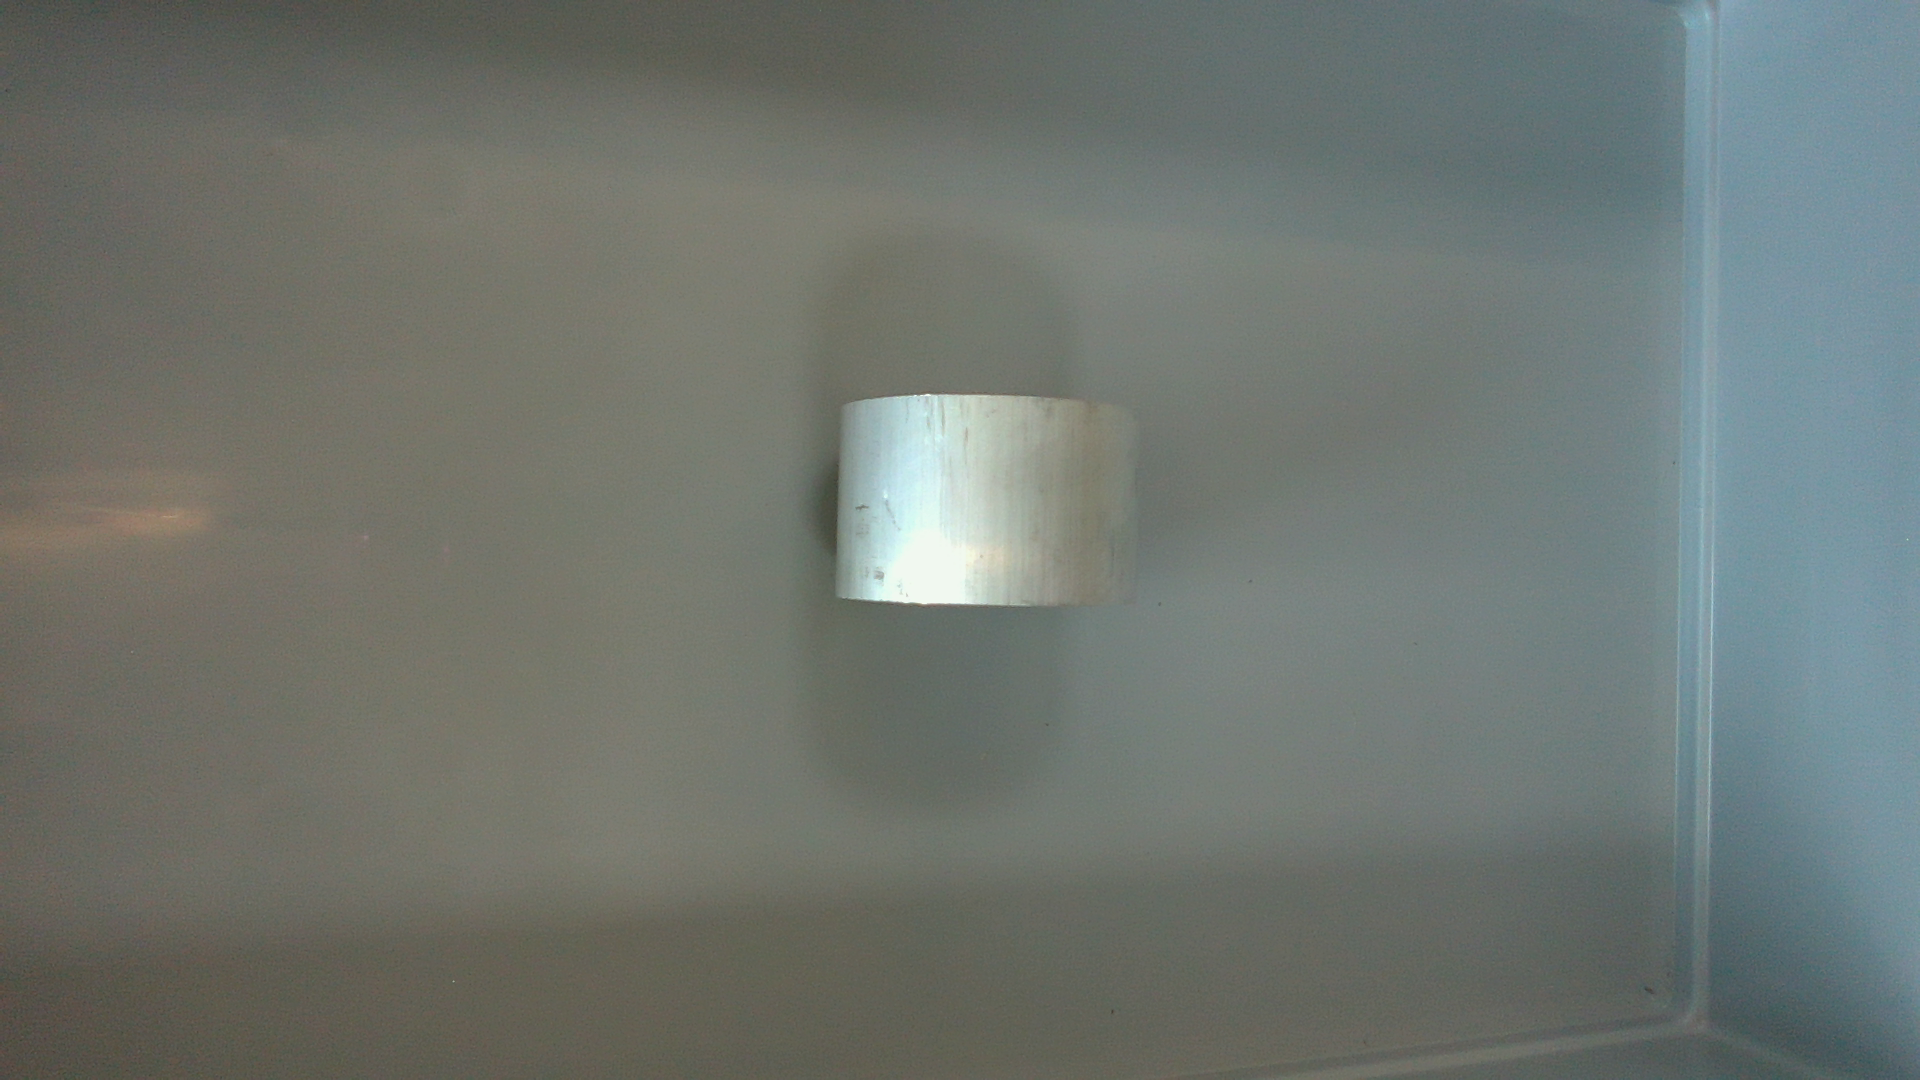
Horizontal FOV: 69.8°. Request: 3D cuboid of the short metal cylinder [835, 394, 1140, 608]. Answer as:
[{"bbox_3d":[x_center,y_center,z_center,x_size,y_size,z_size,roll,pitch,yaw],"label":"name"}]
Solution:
[{"bbox_3d":[0.007,-0.009,0.364,0.080,0.080,0.050,2,89,-20],"label":"short metal cylinder"}]
